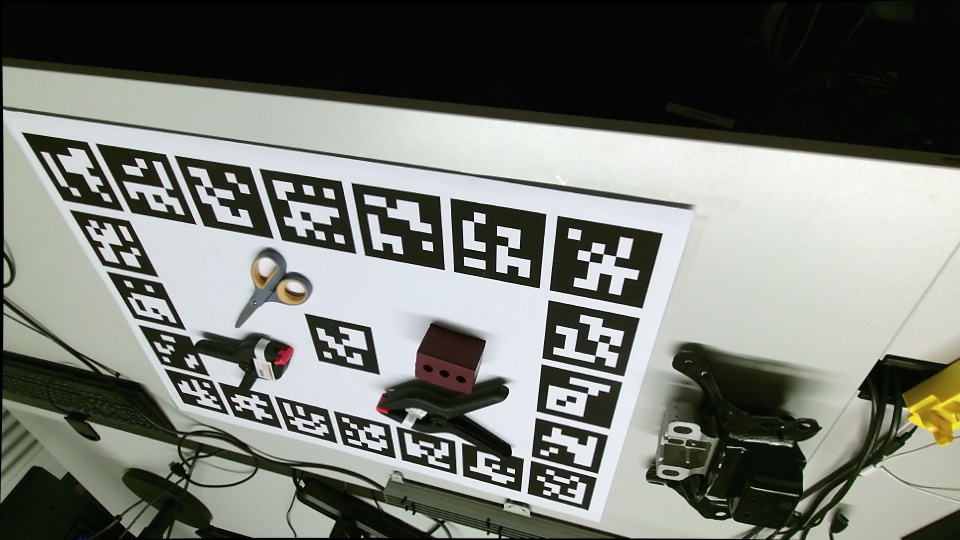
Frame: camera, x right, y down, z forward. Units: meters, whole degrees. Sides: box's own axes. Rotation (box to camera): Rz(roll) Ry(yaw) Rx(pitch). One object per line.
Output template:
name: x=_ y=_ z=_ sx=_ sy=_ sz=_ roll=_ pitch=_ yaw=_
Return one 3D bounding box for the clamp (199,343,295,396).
clamp: x=-0.360 y=0.156 z=0.851 sx=0.165 sy=0.036 sz=0.122 roll=-15 pitch=113 yaw=28

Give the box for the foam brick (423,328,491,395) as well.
foam brick: x=-0.030 y=0.118 z=0.693 sx=0.078 sy=0.051 sz=0.053 roll=13 pitch=128 yaw=4

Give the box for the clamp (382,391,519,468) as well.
clamp: x=-0.046 y=0.220 z=0.784 sx=0.203 sy=0.036 sz=0.165 roll=7 pitch=131 yaw=15

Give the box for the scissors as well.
scissors: x=-0.298 y=0.050 z=0.750 sx=0.088 sy=0.016 sz=0.203 roll=45 pitch=129 yaw=-7
